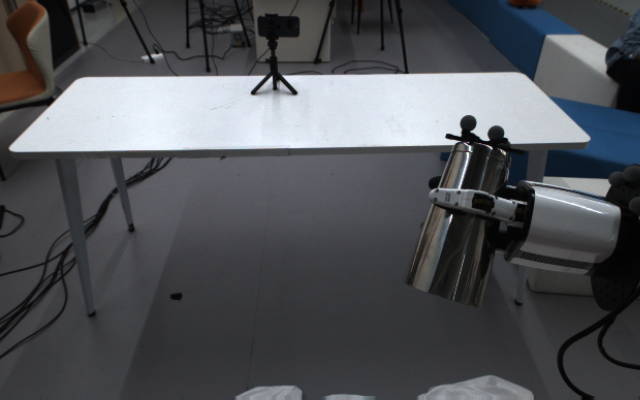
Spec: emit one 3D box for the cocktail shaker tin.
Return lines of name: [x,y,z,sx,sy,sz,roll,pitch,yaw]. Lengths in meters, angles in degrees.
cocktail shaker tin: [0.165,0.025,0.552,0.093,0.170,0.093,16,-2,1]
